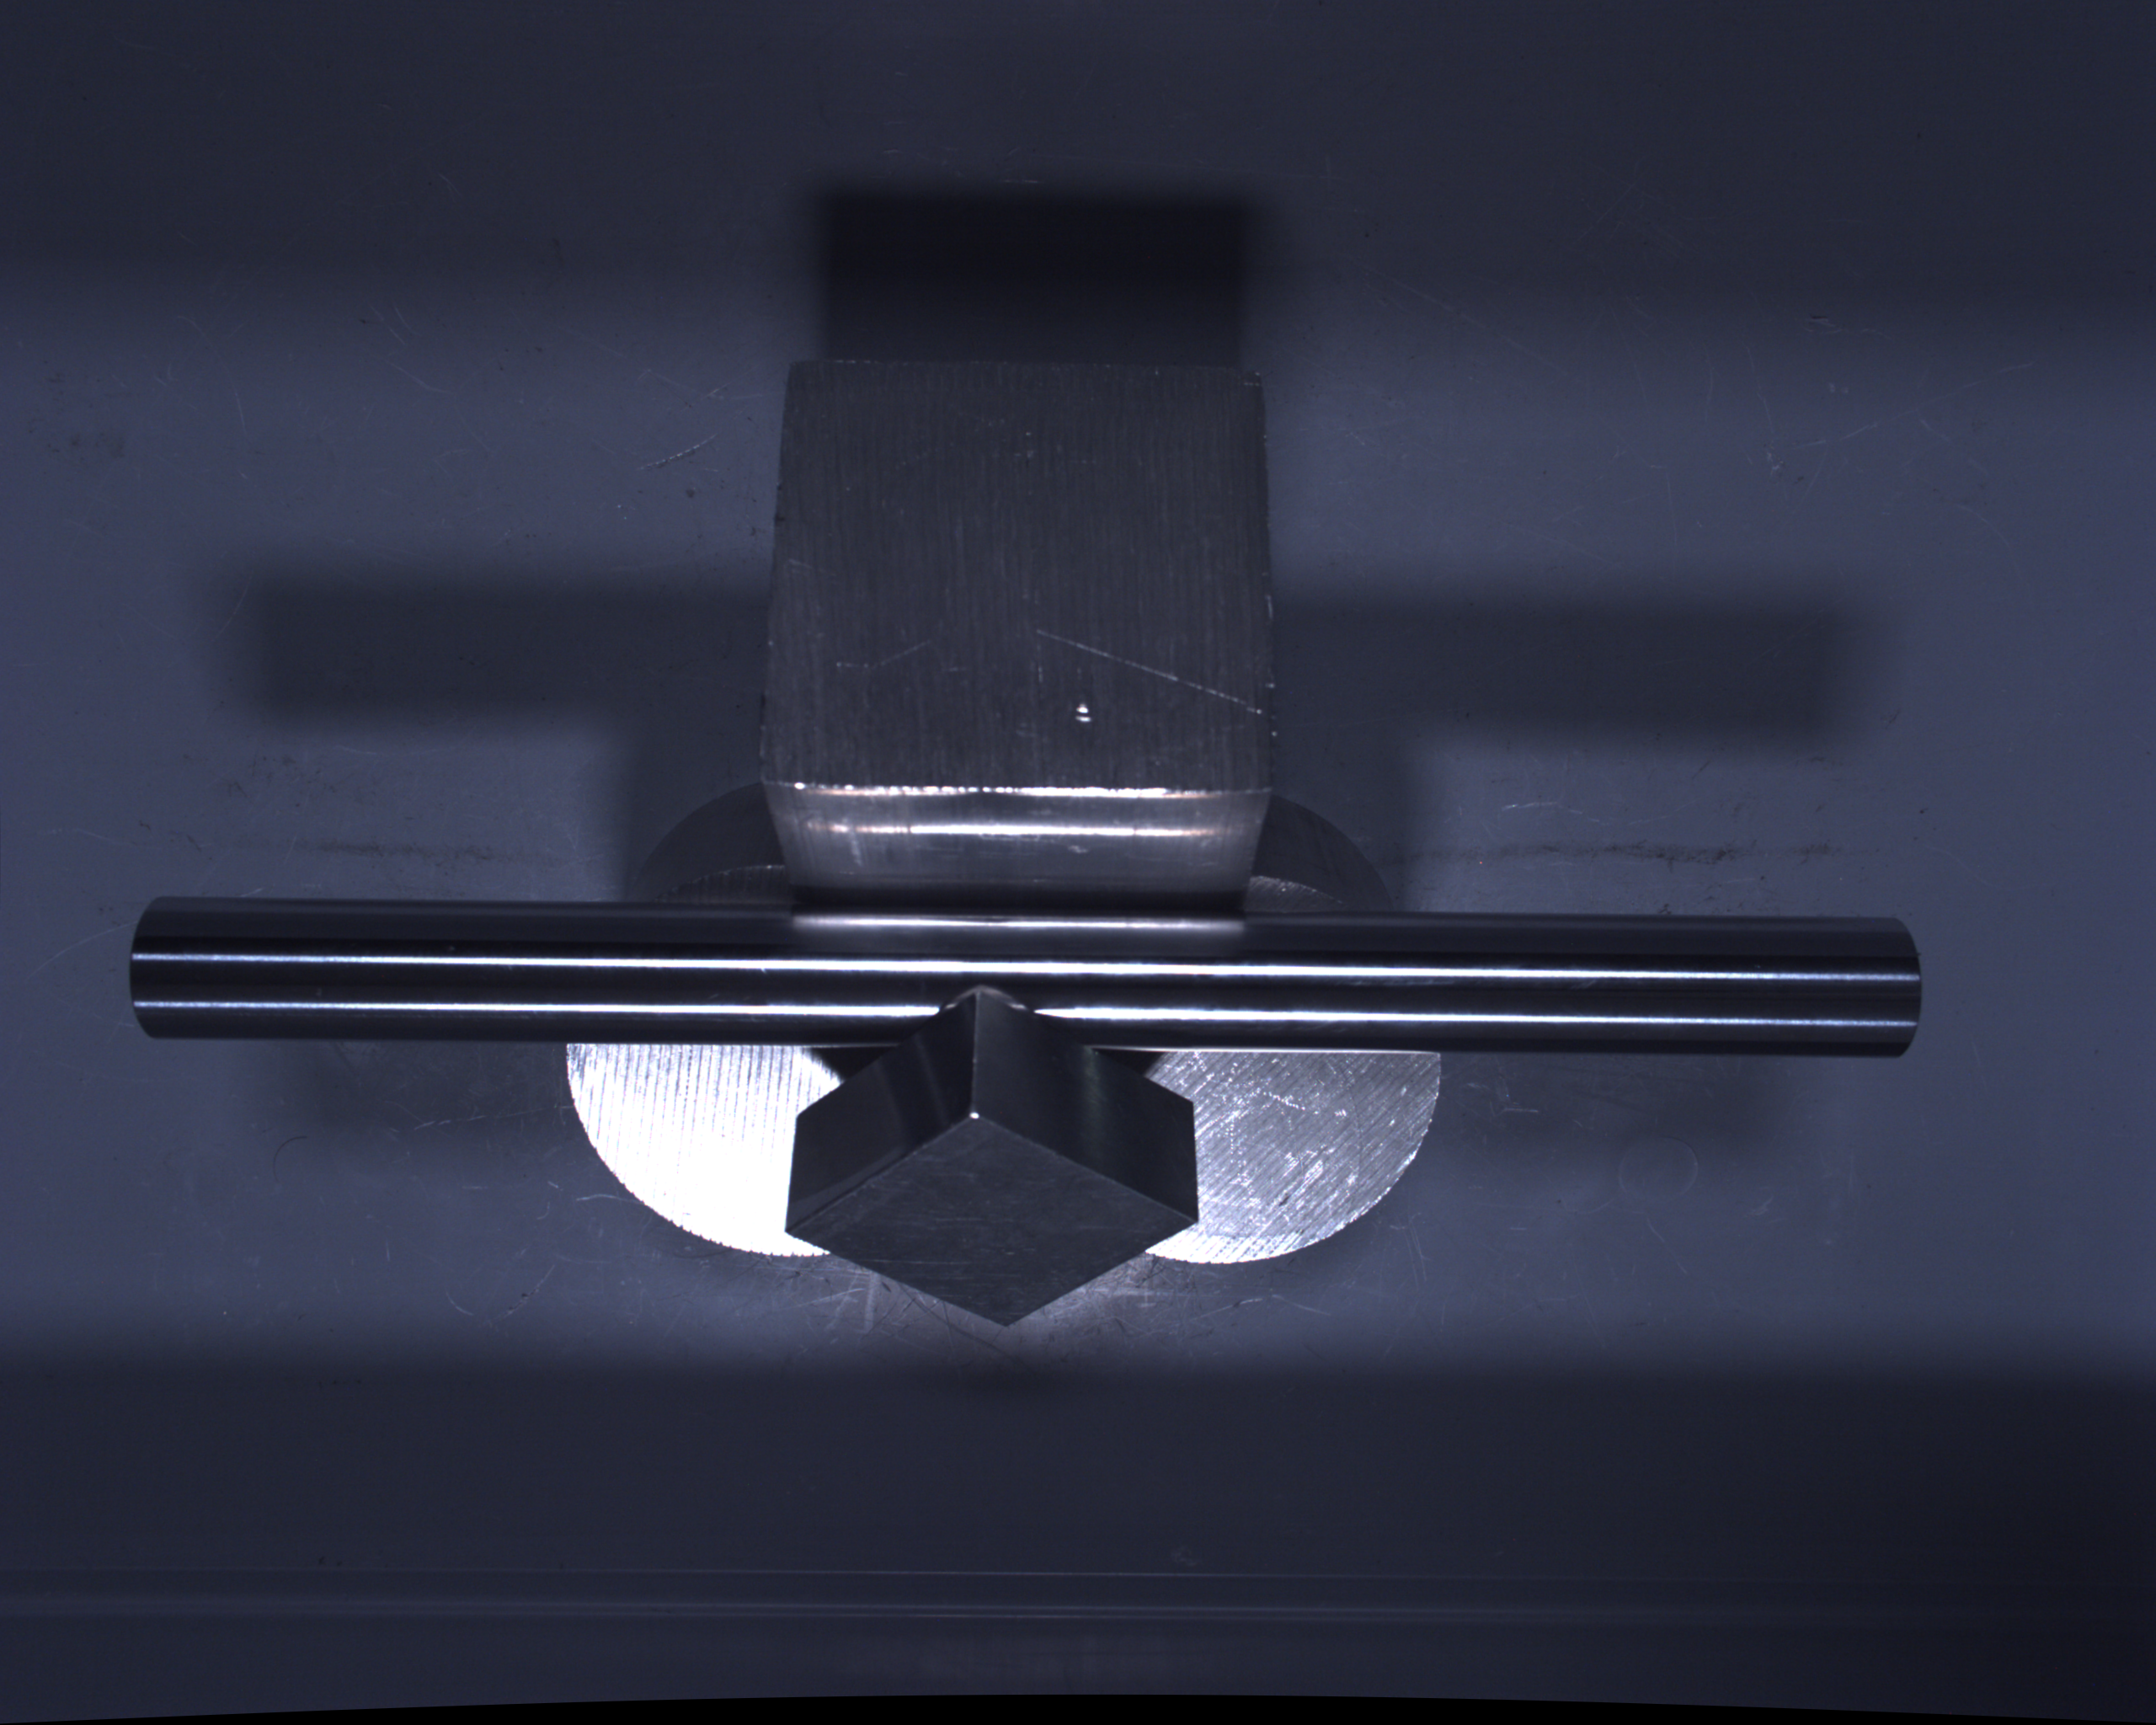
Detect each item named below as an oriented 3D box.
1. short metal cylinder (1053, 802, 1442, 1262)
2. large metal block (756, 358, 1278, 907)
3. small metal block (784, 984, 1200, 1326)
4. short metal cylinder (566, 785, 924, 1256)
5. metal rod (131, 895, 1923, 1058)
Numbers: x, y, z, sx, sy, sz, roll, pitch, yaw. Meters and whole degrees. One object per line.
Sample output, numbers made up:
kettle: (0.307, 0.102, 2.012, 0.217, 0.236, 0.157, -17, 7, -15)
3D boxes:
short metal cylinder: (0.027, 0.030, 0.408, 0.081, 0.050, 0.079, 0, 110, -1)
large metal block: (-0.009, -0.038, 0.360, 0.081, 0.050, 0.080, 1, 67, -1)
small metal block: (-0.015, 0.053, 0.364, 0.050, 0.025, 0.050, 30, 130, -30)
short metal cylinder: (-0.054, 0.029, 0.407, 0.081, 0.050, 0.079, 0, 110, -1)
metal rod: (-0.008, 0.020, 0.364, 0.302, 0.025, 0.025, 1, 110, -1)
